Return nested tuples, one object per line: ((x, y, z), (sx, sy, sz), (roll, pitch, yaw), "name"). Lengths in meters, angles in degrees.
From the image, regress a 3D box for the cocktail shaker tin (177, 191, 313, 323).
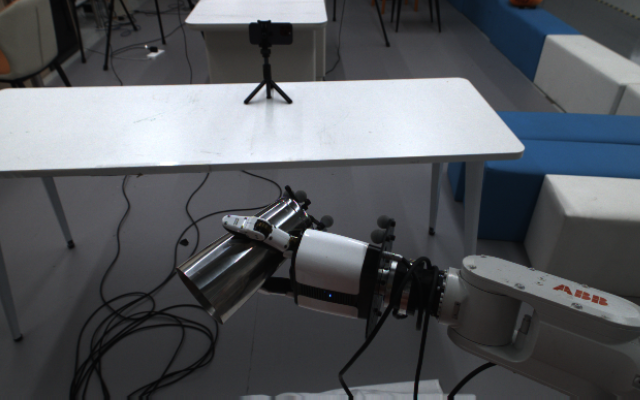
((-0.091, 0.066, 0.635), (0.170, 0.093, 0.093), (-38, 49, -24), "cocktail shaker tin")
